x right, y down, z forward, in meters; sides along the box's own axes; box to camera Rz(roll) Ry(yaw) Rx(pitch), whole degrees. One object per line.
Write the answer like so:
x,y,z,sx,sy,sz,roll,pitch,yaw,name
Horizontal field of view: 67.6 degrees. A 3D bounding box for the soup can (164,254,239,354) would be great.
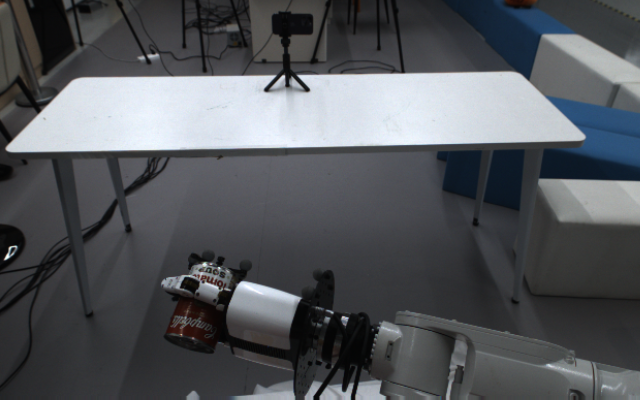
-0.153,0.141,0.633,0.067,0.067,0.101,9,58,10,soup can
